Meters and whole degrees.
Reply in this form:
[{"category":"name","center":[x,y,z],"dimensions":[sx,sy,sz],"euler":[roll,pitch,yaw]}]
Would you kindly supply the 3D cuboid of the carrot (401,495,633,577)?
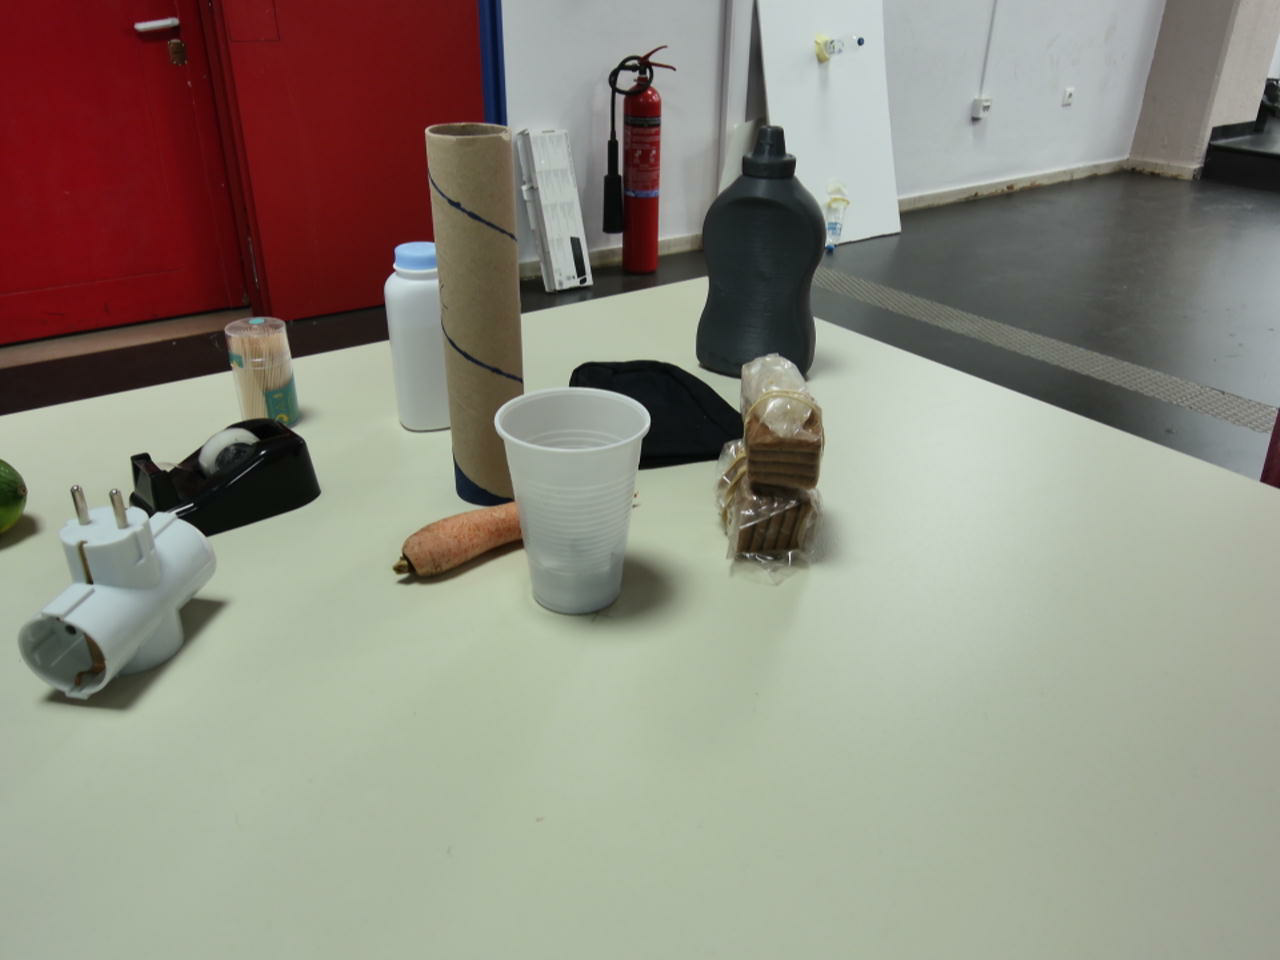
[{"category":"carrot","center":[-0.073,0.025,0.618],"dimensions":[0.163,0.029,0.031],"euler":[-17,31,-32]}]
